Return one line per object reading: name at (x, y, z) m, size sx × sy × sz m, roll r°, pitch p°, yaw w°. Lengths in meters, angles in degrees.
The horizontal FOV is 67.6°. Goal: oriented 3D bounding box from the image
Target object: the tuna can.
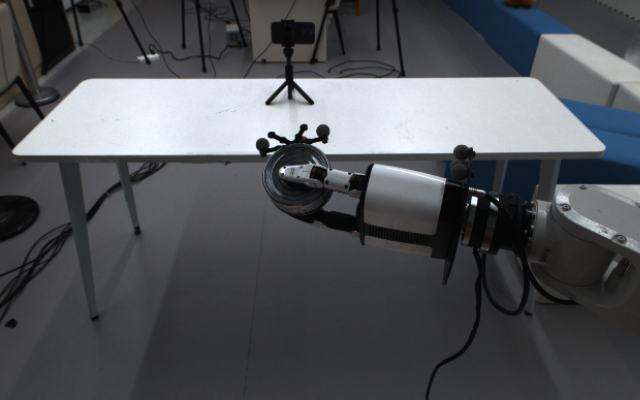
tuna can at (-0.022, -0.021, 0.591) m, size 0.085 × 0.034 × 0.085 m, roll -4°, pitch 68°, yaw 9°
